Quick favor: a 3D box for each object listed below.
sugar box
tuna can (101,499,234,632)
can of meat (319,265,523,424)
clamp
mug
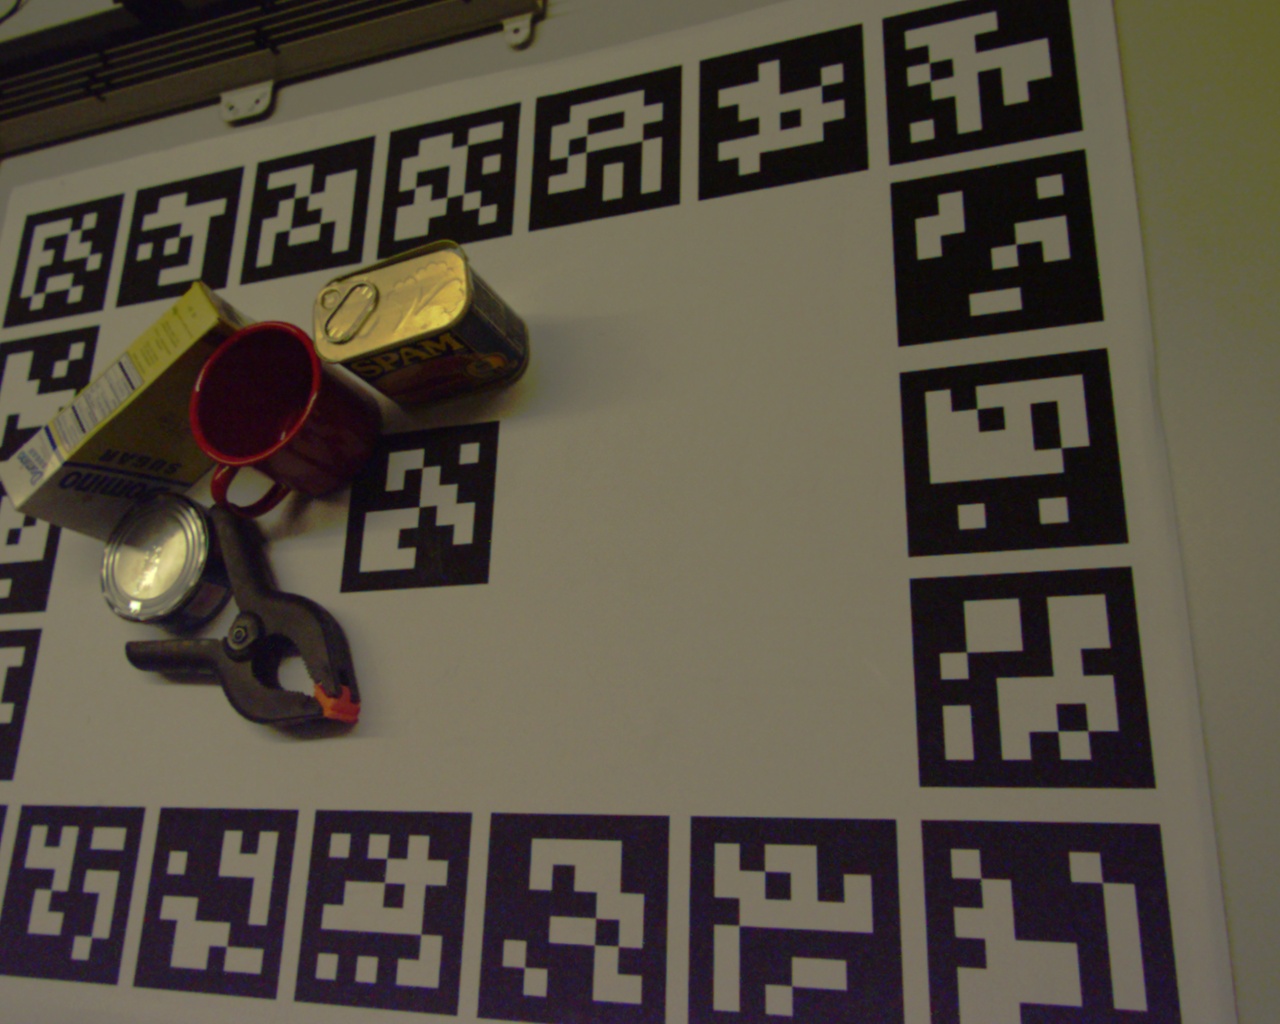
[{"bbox_3d":[-0.318,-0.053,0.765,0.177,0.092,0.046,-40,63,4],"label":"sugar box"},{"bbox_3d":[-0.315,0.037,0.762,0.086,0.033,0.086,-6,74,20],"label":"tuna can"},{"bbox_3d":[-0.134,-0.101,0.711,0.102,0.083,0.058,-13,69,16],"label":"can of meat"},{"bbox_3d":[-0.241,0.086,0.724,0.167,0.036,0.122,33,84,22],"label":"clamp"},{"bbox_3d":[-0.232,-0.047,0.725,0.094,0.080,0.117,22,85,25],"label":"mug"}]
